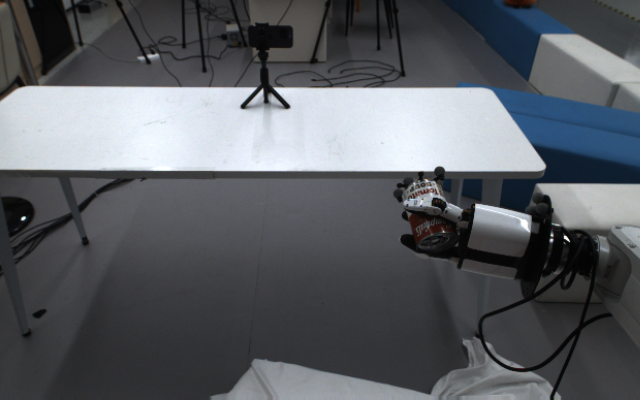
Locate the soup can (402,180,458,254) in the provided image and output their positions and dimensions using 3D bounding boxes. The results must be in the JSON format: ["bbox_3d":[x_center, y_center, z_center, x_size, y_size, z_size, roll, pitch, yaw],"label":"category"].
[{"bbox_3d":[0.177,0.024,0.776,0.067,0.067,0.101,-6,57,-11],"label":"soup can"}]
